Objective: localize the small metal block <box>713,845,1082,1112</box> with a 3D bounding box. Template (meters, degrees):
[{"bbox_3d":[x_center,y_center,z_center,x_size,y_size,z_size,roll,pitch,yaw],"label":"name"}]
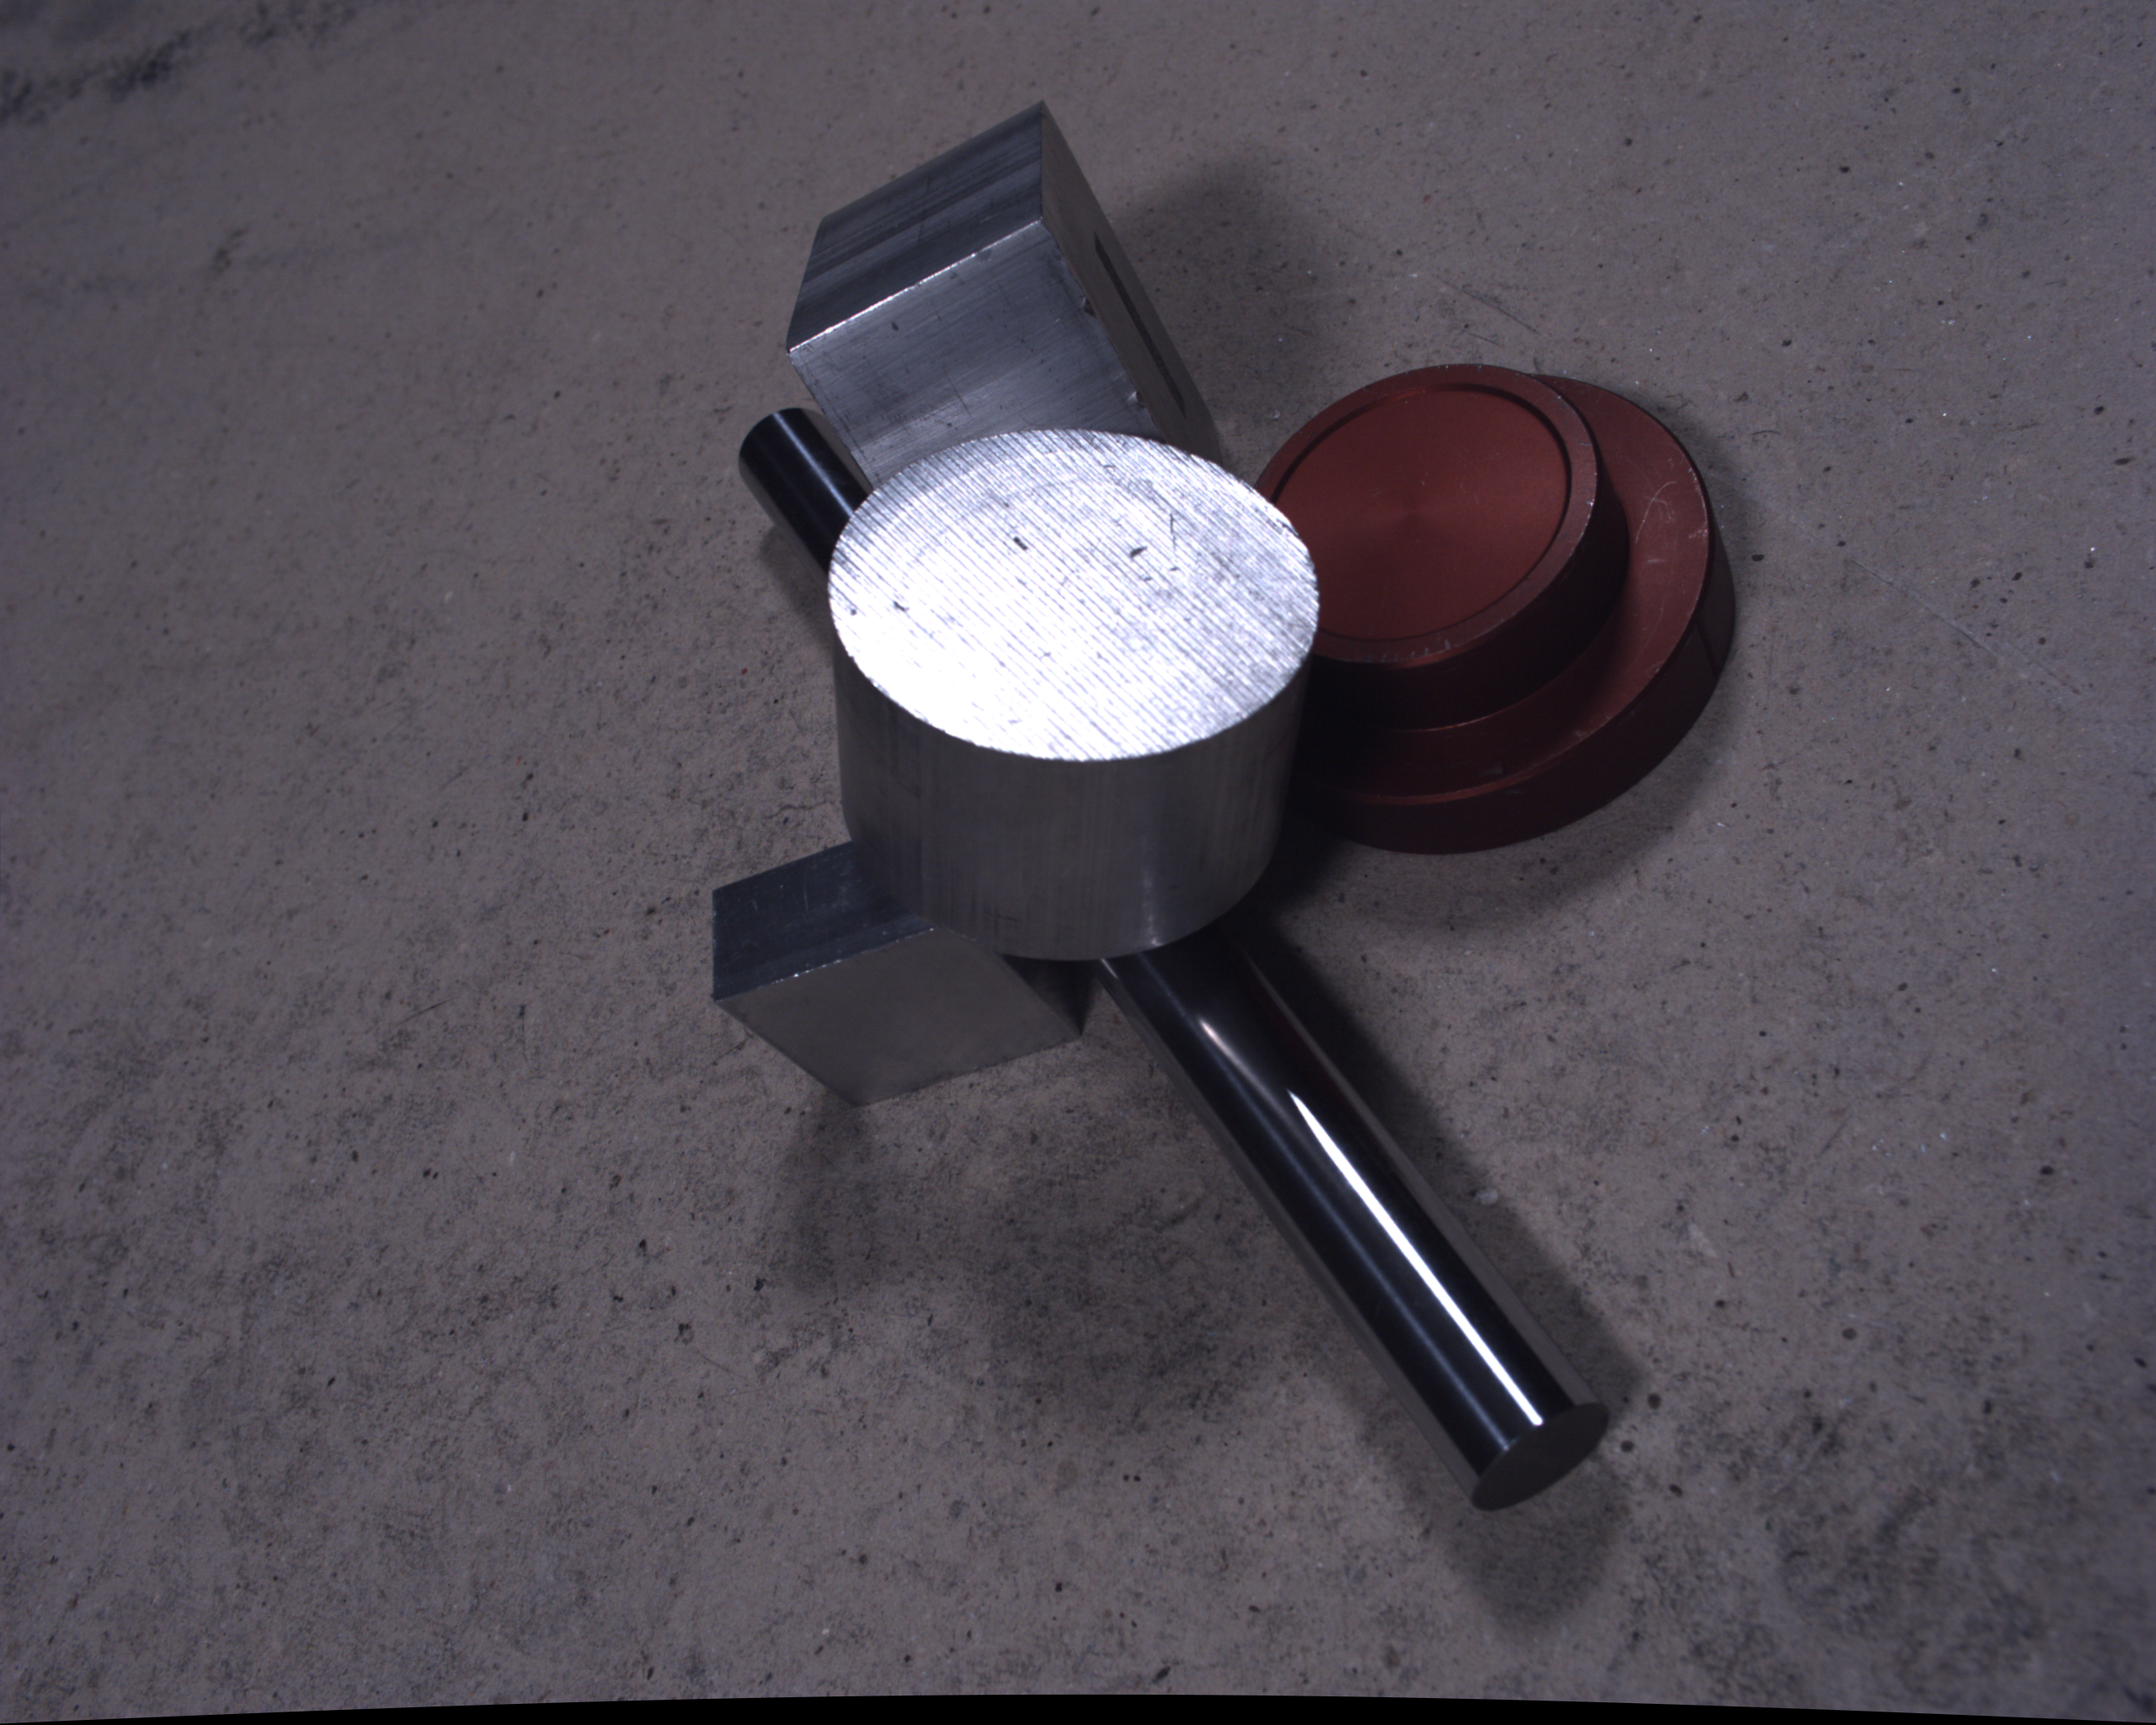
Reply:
[{"bbox_3d":[-0.034,0.020,0.394,0.050,0.050,0.025,-19,54,16],"label":"small metal block"}]

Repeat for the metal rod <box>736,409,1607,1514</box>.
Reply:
[{"bbox_3d":[0.000,-0.004,0.407,0.025,0.025,0.300,-38,51,2],"label":"metal rod"}]

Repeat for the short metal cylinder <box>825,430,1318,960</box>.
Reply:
[{"bbox_3d":[-0.002,-0.030,0.360,0.081,0.050,0.080,2,49,-2],"label":"short metal cylinder"}]

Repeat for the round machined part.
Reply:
[{"bbox_3d":[0.069,-0.054,0.390,0.098,0.042,0.098,-13,56,20],"label":"round machined part"}]

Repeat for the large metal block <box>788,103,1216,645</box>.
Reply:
[{"bbox_3d":[-0.011,-0.095,0.419,0.050,0.080,0.080,-25,31,15],"label":"large metal block"}]
